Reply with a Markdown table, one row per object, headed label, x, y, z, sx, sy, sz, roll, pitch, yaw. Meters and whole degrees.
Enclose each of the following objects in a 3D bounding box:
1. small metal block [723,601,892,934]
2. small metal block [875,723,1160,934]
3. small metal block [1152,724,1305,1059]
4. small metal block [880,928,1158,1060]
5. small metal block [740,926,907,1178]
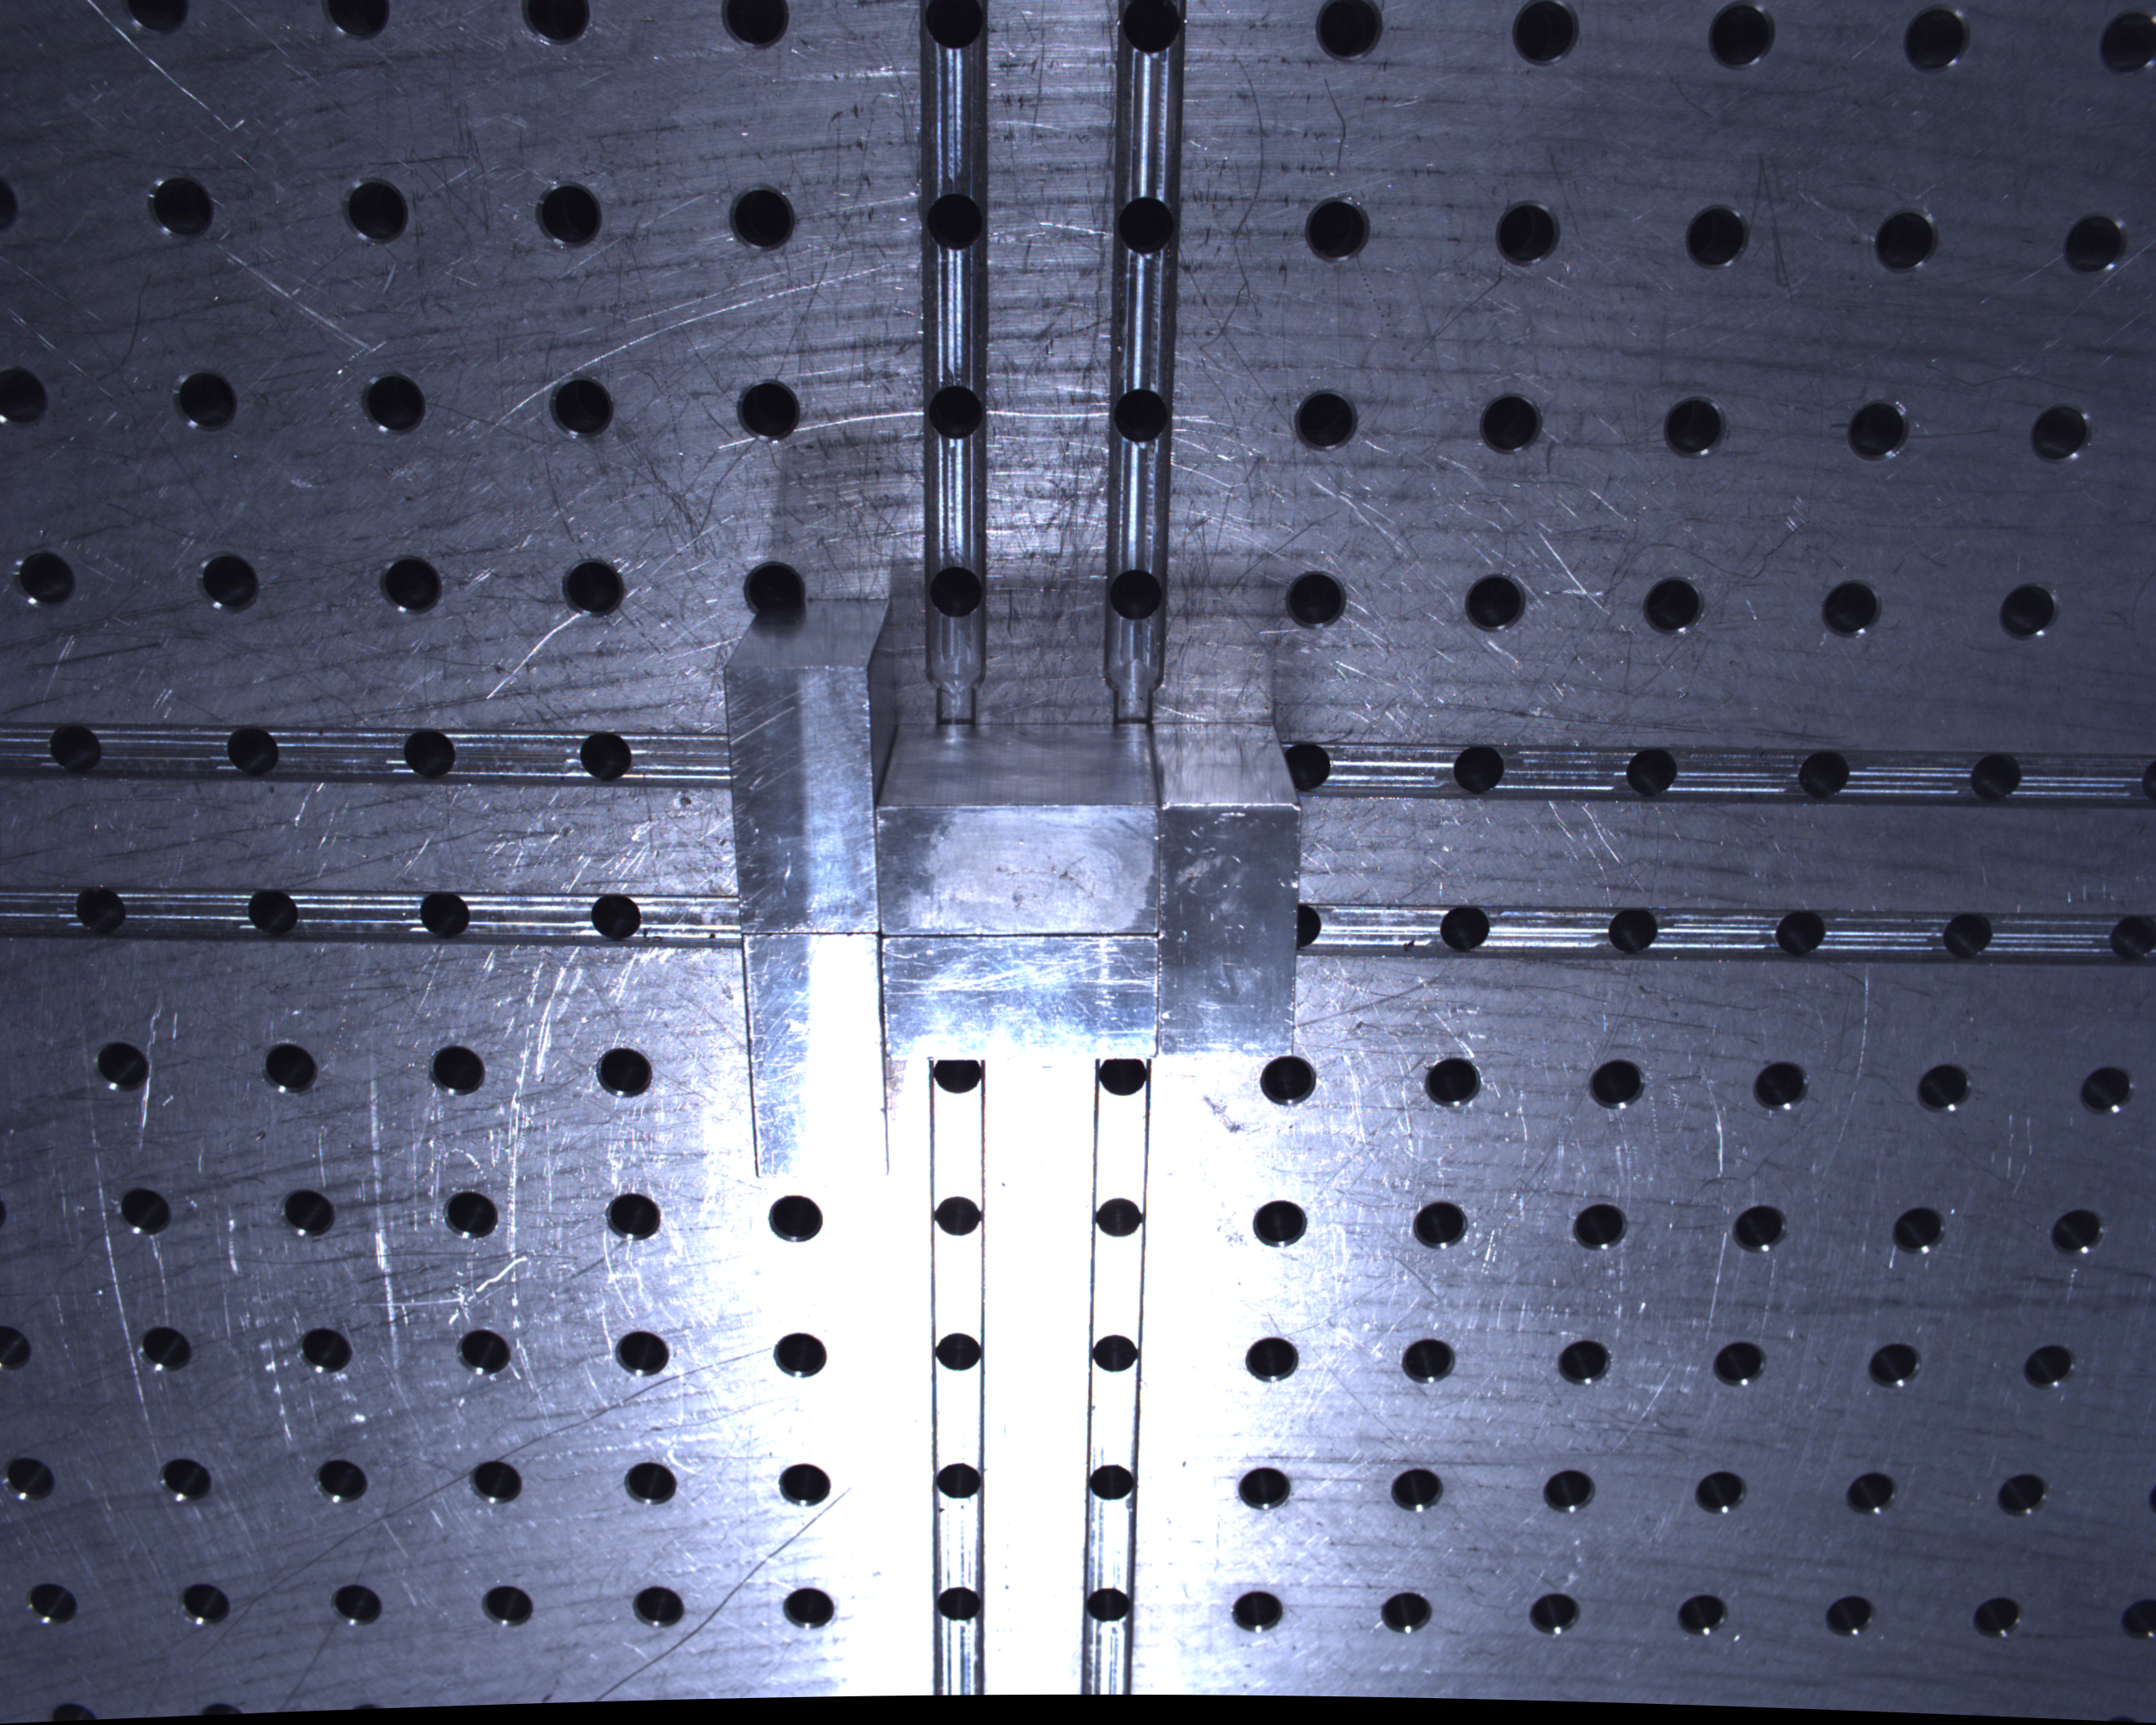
| label | x | y | z | sx | sy | sz | roll | pitch | yaw |
| --- | --- | --- | --- | --- | --- | --- | --- | --- | --- |
| small metal block | -0.049 | -0.019 | 0.392 | 0.025 | 0.050 | 0.050 | 0 | 110 | 0 |
| small metal block | -0.011 | -0.007 | 0.396 | 0.050 | 0.050 | 0.025 | 0 | 110 | -1 |
| small metal block | 0.028 | 0.004 | 0.401 | 0.025 | 0.050 | 0.050 | 0 | 110 | 0 |
| small metal block | -0.011 | 0.016 | 0.405 | 0.050 | 0.050 | 0.025 | 0 | 110 | -1 |
| small metal block | -0.049 | 0.028 | 0.409 | 0.025 | 0.050 | 0.050 | 0 | 110 | 0 |
